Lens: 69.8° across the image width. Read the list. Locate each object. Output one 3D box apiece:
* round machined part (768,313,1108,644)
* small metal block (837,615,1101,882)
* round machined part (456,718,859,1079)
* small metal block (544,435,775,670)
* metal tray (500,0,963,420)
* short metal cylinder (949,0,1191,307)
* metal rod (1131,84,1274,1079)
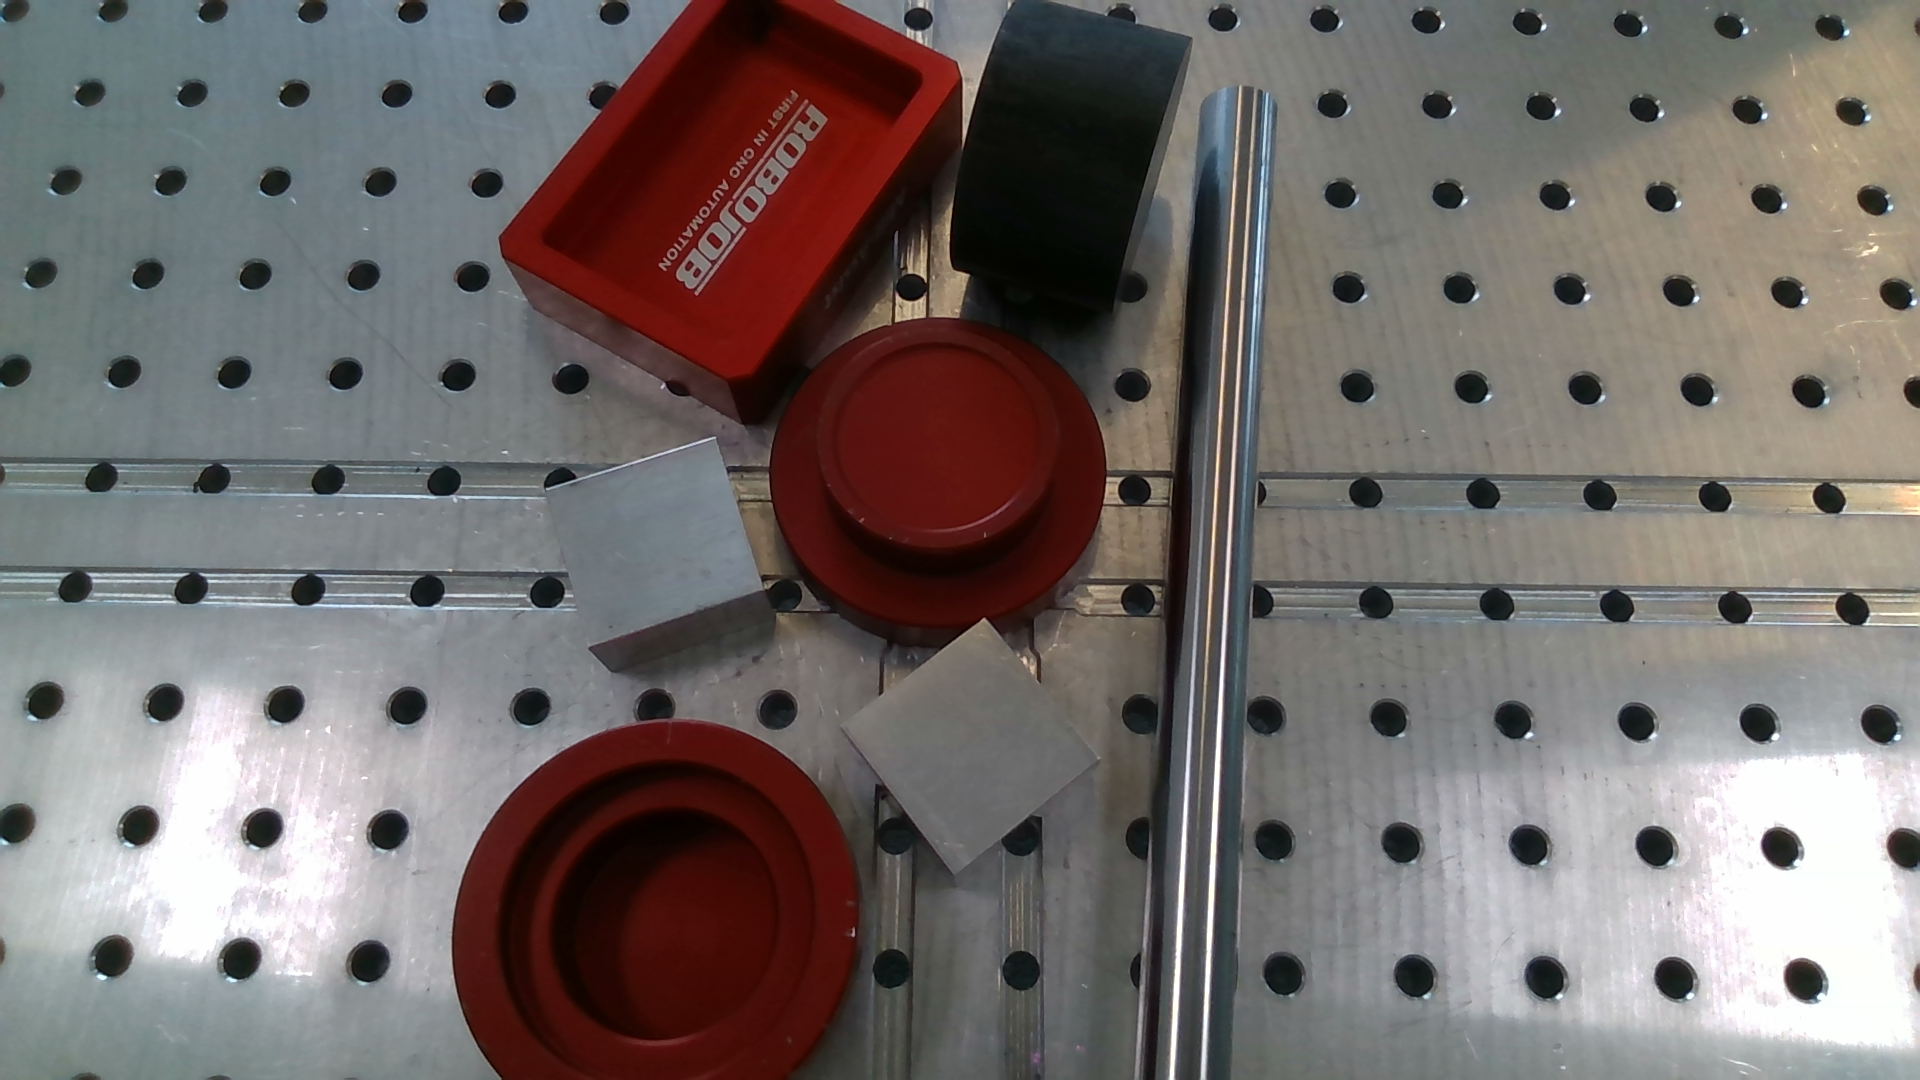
[{"bbox_3d":[-0.006,-0.023,0.397,0.098,0.042,0.098,1,71,-3],"label":"round machined part"},{"bbox_3d":[0.002,0.058,0.378,0.050,0.025,0.050,-37,74,-12],"label":"small metal block"},{"bbox_3d":[-0.074,0.098,0.354,0.098,0.042,0.098,0,70,0],"label":"round machined part"},{"bbox_3d":[-0.086,0.004,0.397,0.050,0.025,0.050,-18,71,-6],"label":"small metal block"},{"bbox_3d":[-0.069,-0.113,0.435,0.090,0.030,0.130,29,73,10],"label":"metal tray"},{"bbox_3d":[0.033,-0.114,0.409,0.050,0.080,0.080,17,71,6],"label":"short metal cylinder"},{"bbox_3d":[0.072,0.000,0.397,0.025,0.025,0.299,6,71,2],"label":"metal rod"}]
